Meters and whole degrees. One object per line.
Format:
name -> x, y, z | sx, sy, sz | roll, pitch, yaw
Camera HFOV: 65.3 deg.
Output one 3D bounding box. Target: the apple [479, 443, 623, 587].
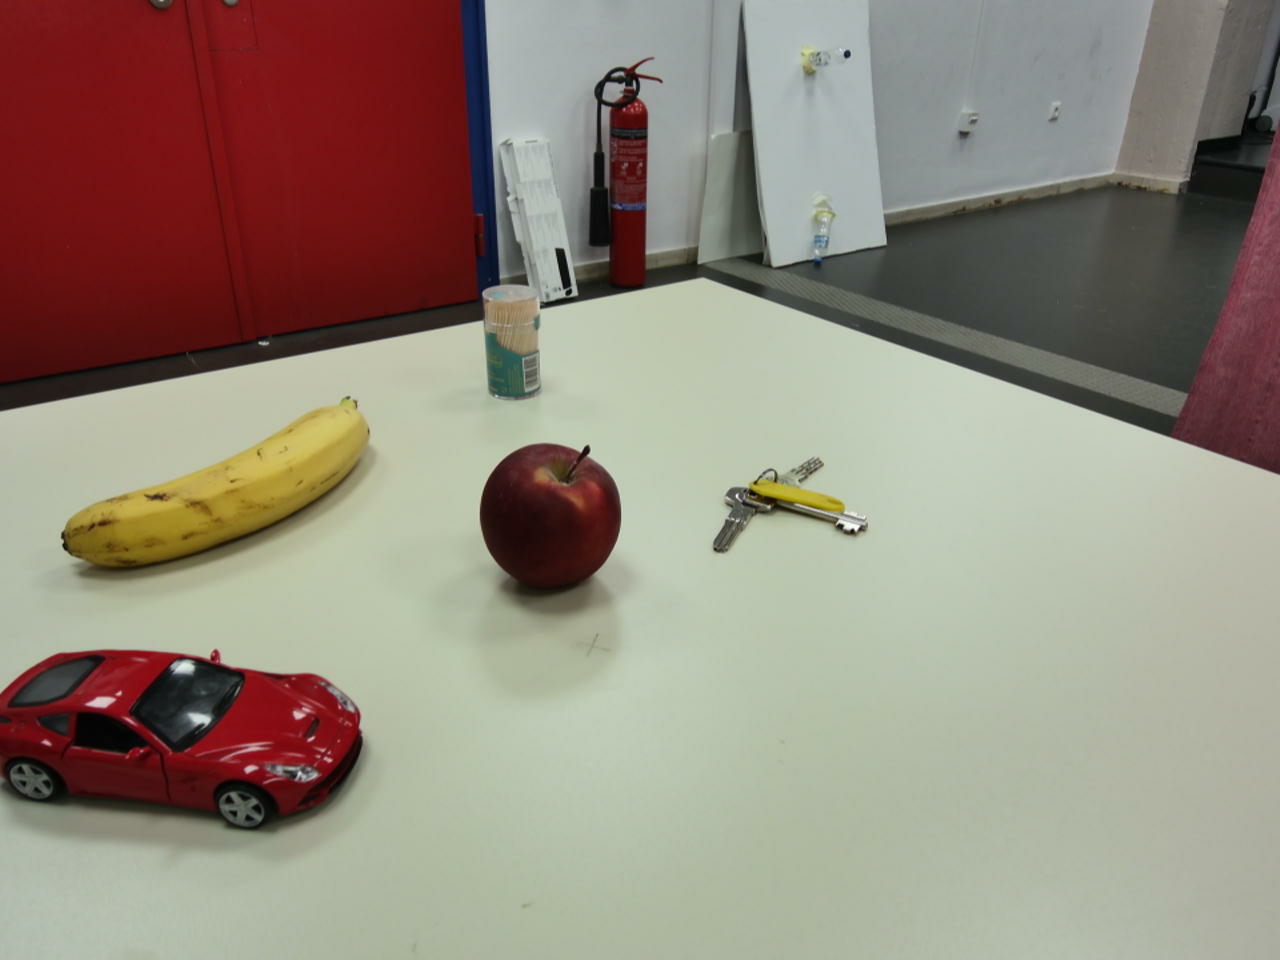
apple -> -0.044, 0.018, 0.492 | 0.070, 0.072, 0.070 | 0, 25, 0
